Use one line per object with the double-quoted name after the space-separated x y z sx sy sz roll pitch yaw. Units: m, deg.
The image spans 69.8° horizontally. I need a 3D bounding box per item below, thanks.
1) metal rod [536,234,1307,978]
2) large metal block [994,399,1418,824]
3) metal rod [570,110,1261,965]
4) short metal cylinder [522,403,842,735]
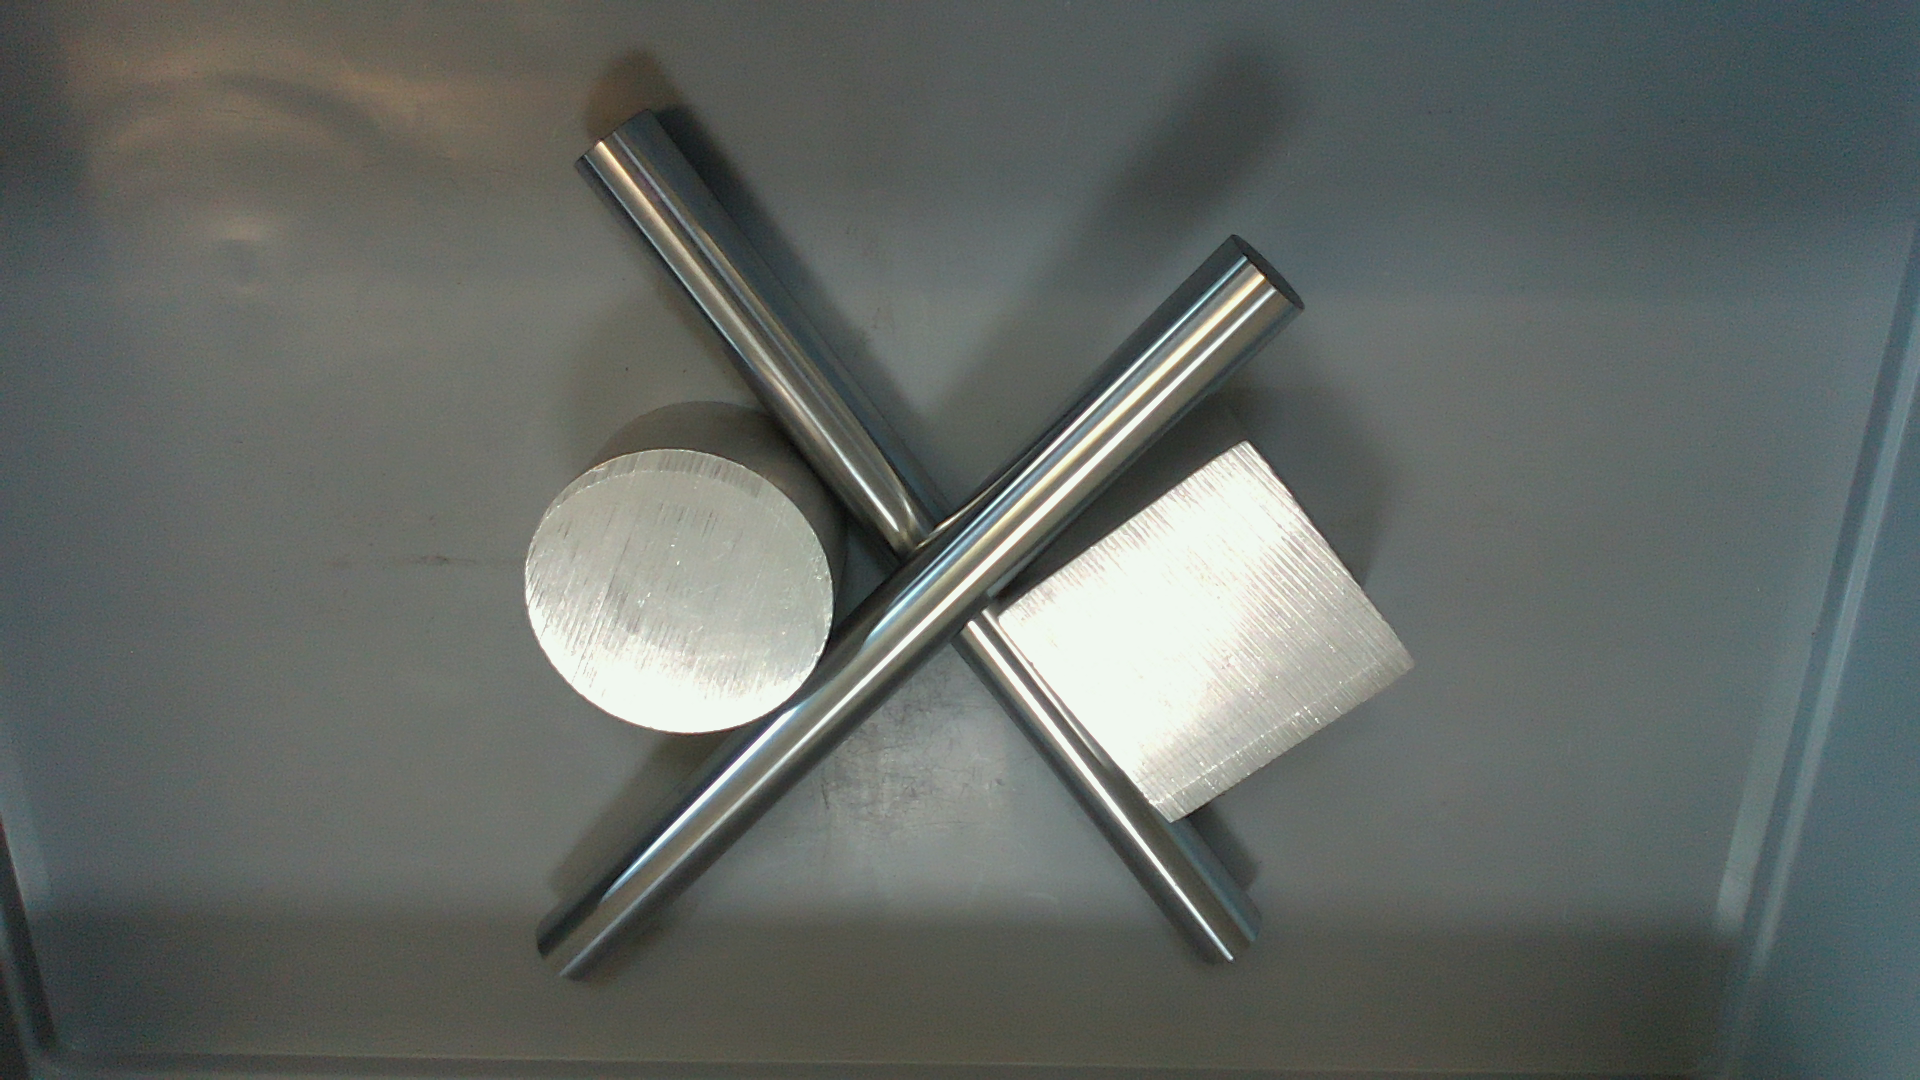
-0.026 0.033 0.382 0.025 0.025 0.299 40 114 -13 "metal rod"
0.065 0.017 0.385 0.080 0.050 0.080 -37 106 12 "large metal block"
-0.003 0.011 0.396 0.025 0.025 0.300 -34 107 12 "metal rod"
-0.074 0.007 0.381 0.080 0.050 0.080 0 110 0 "short metal cylinder"
